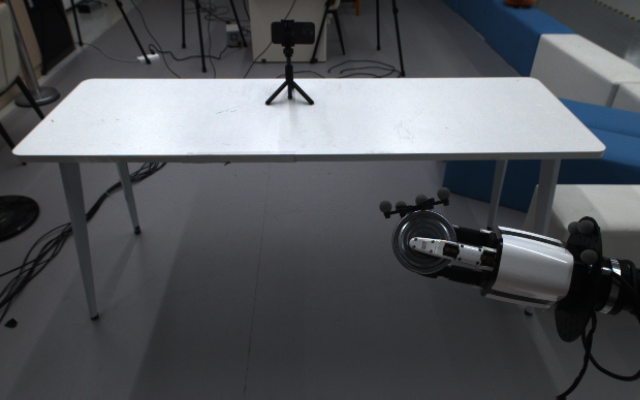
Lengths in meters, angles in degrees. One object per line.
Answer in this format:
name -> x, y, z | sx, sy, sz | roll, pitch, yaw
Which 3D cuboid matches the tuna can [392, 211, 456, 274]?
tuna can -> 0.144, 0.062, 0.647 | 0.085, 0.085, 0.034 | 12, -6, 14
